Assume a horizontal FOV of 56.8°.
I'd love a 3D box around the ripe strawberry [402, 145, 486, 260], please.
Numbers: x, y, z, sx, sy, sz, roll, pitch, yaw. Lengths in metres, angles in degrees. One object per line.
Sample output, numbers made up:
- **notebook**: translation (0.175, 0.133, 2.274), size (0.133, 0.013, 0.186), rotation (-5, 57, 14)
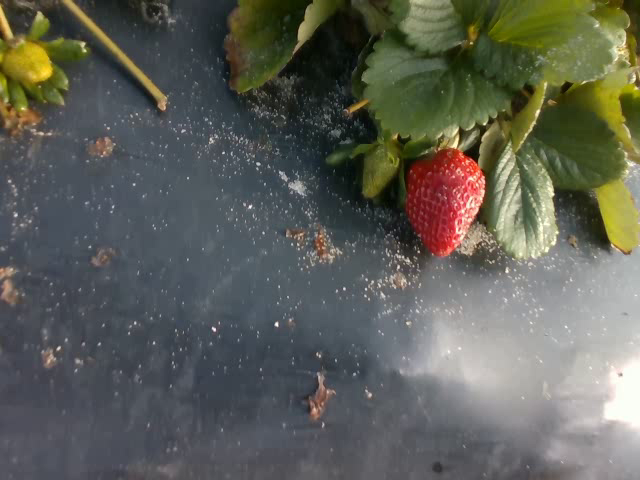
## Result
- **ripe strawberry**: translation (0.036, -0.009, 0.170), size (0.029, 0.036, 0.021), rotation (7, -17, -6)
